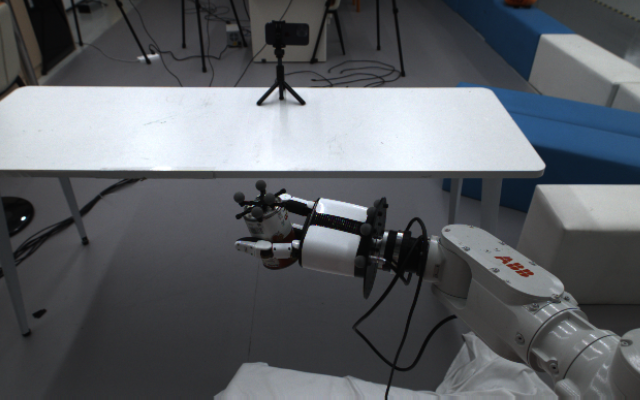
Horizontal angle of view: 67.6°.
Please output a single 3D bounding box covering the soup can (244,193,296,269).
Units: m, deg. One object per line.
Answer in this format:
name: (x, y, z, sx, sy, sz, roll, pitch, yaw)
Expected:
soup can: (-0.075, 0.053, 0.773, 0.067, 0.101, 0.067, -14, 31, 8)
